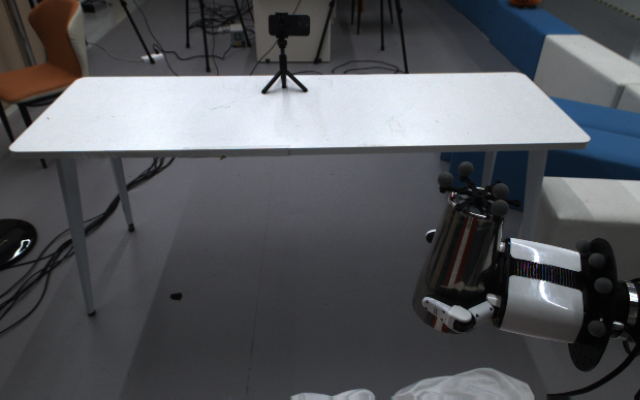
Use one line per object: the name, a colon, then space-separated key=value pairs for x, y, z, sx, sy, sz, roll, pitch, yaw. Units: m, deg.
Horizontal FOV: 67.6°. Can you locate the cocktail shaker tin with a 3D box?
cocktail shaker tin: x=0.175 y=0.071 z=0.595 sx=0.093 sy=0.170 sz=0.093 roll=3 pitch=34 yaw=-2
